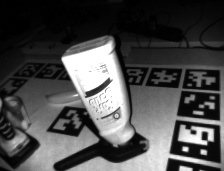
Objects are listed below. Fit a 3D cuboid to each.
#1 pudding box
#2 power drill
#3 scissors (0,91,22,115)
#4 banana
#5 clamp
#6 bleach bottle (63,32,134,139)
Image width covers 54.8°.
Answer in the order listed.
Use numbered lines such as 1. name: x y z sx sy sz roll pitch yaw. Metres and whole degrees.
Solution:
1. pudding box: -0.307 0.073 0.625 0.112 0.090 0.039 7 36 24
2. power drill: -0.296 0.070 0.498 0.182 0.188 0.058 12 38 33
3. scissors: -0.325 0.018 0.594 0.200 0.016 0.088 28 57 35
4. banana: -0.128 0.001 0.697 0.198 0.039 0.073 -21 21 -10
5. clamp: -0.019 0.114 0.509 0.201 0.037 0.165 1 42 15
6. bleach bottle: -0.002 0.026 0.443 0.102 0.253 0.067 -14 33 11
